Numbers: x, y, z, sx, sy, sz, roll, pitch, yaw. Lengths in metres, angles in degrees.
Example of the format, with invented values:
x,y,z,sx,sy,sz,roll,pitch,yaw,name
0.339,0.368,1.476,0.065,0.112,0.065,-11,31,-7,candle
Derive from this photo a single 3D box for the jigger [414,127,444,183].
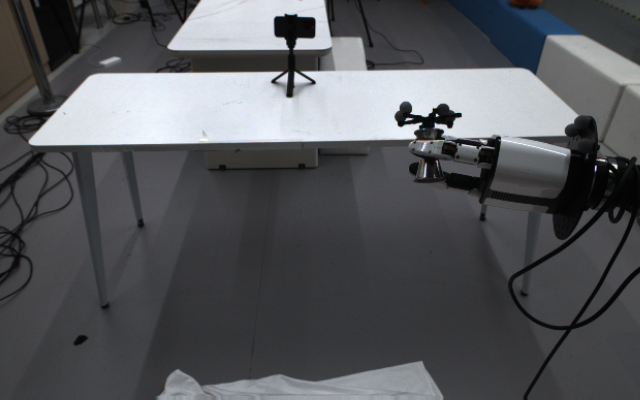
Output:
x,y,z,sx,sy,sz,roll,pitch,yaw,name
0.147,-0.061,0.658,0.043,0.071,0.043,1,-5,0,jigger
